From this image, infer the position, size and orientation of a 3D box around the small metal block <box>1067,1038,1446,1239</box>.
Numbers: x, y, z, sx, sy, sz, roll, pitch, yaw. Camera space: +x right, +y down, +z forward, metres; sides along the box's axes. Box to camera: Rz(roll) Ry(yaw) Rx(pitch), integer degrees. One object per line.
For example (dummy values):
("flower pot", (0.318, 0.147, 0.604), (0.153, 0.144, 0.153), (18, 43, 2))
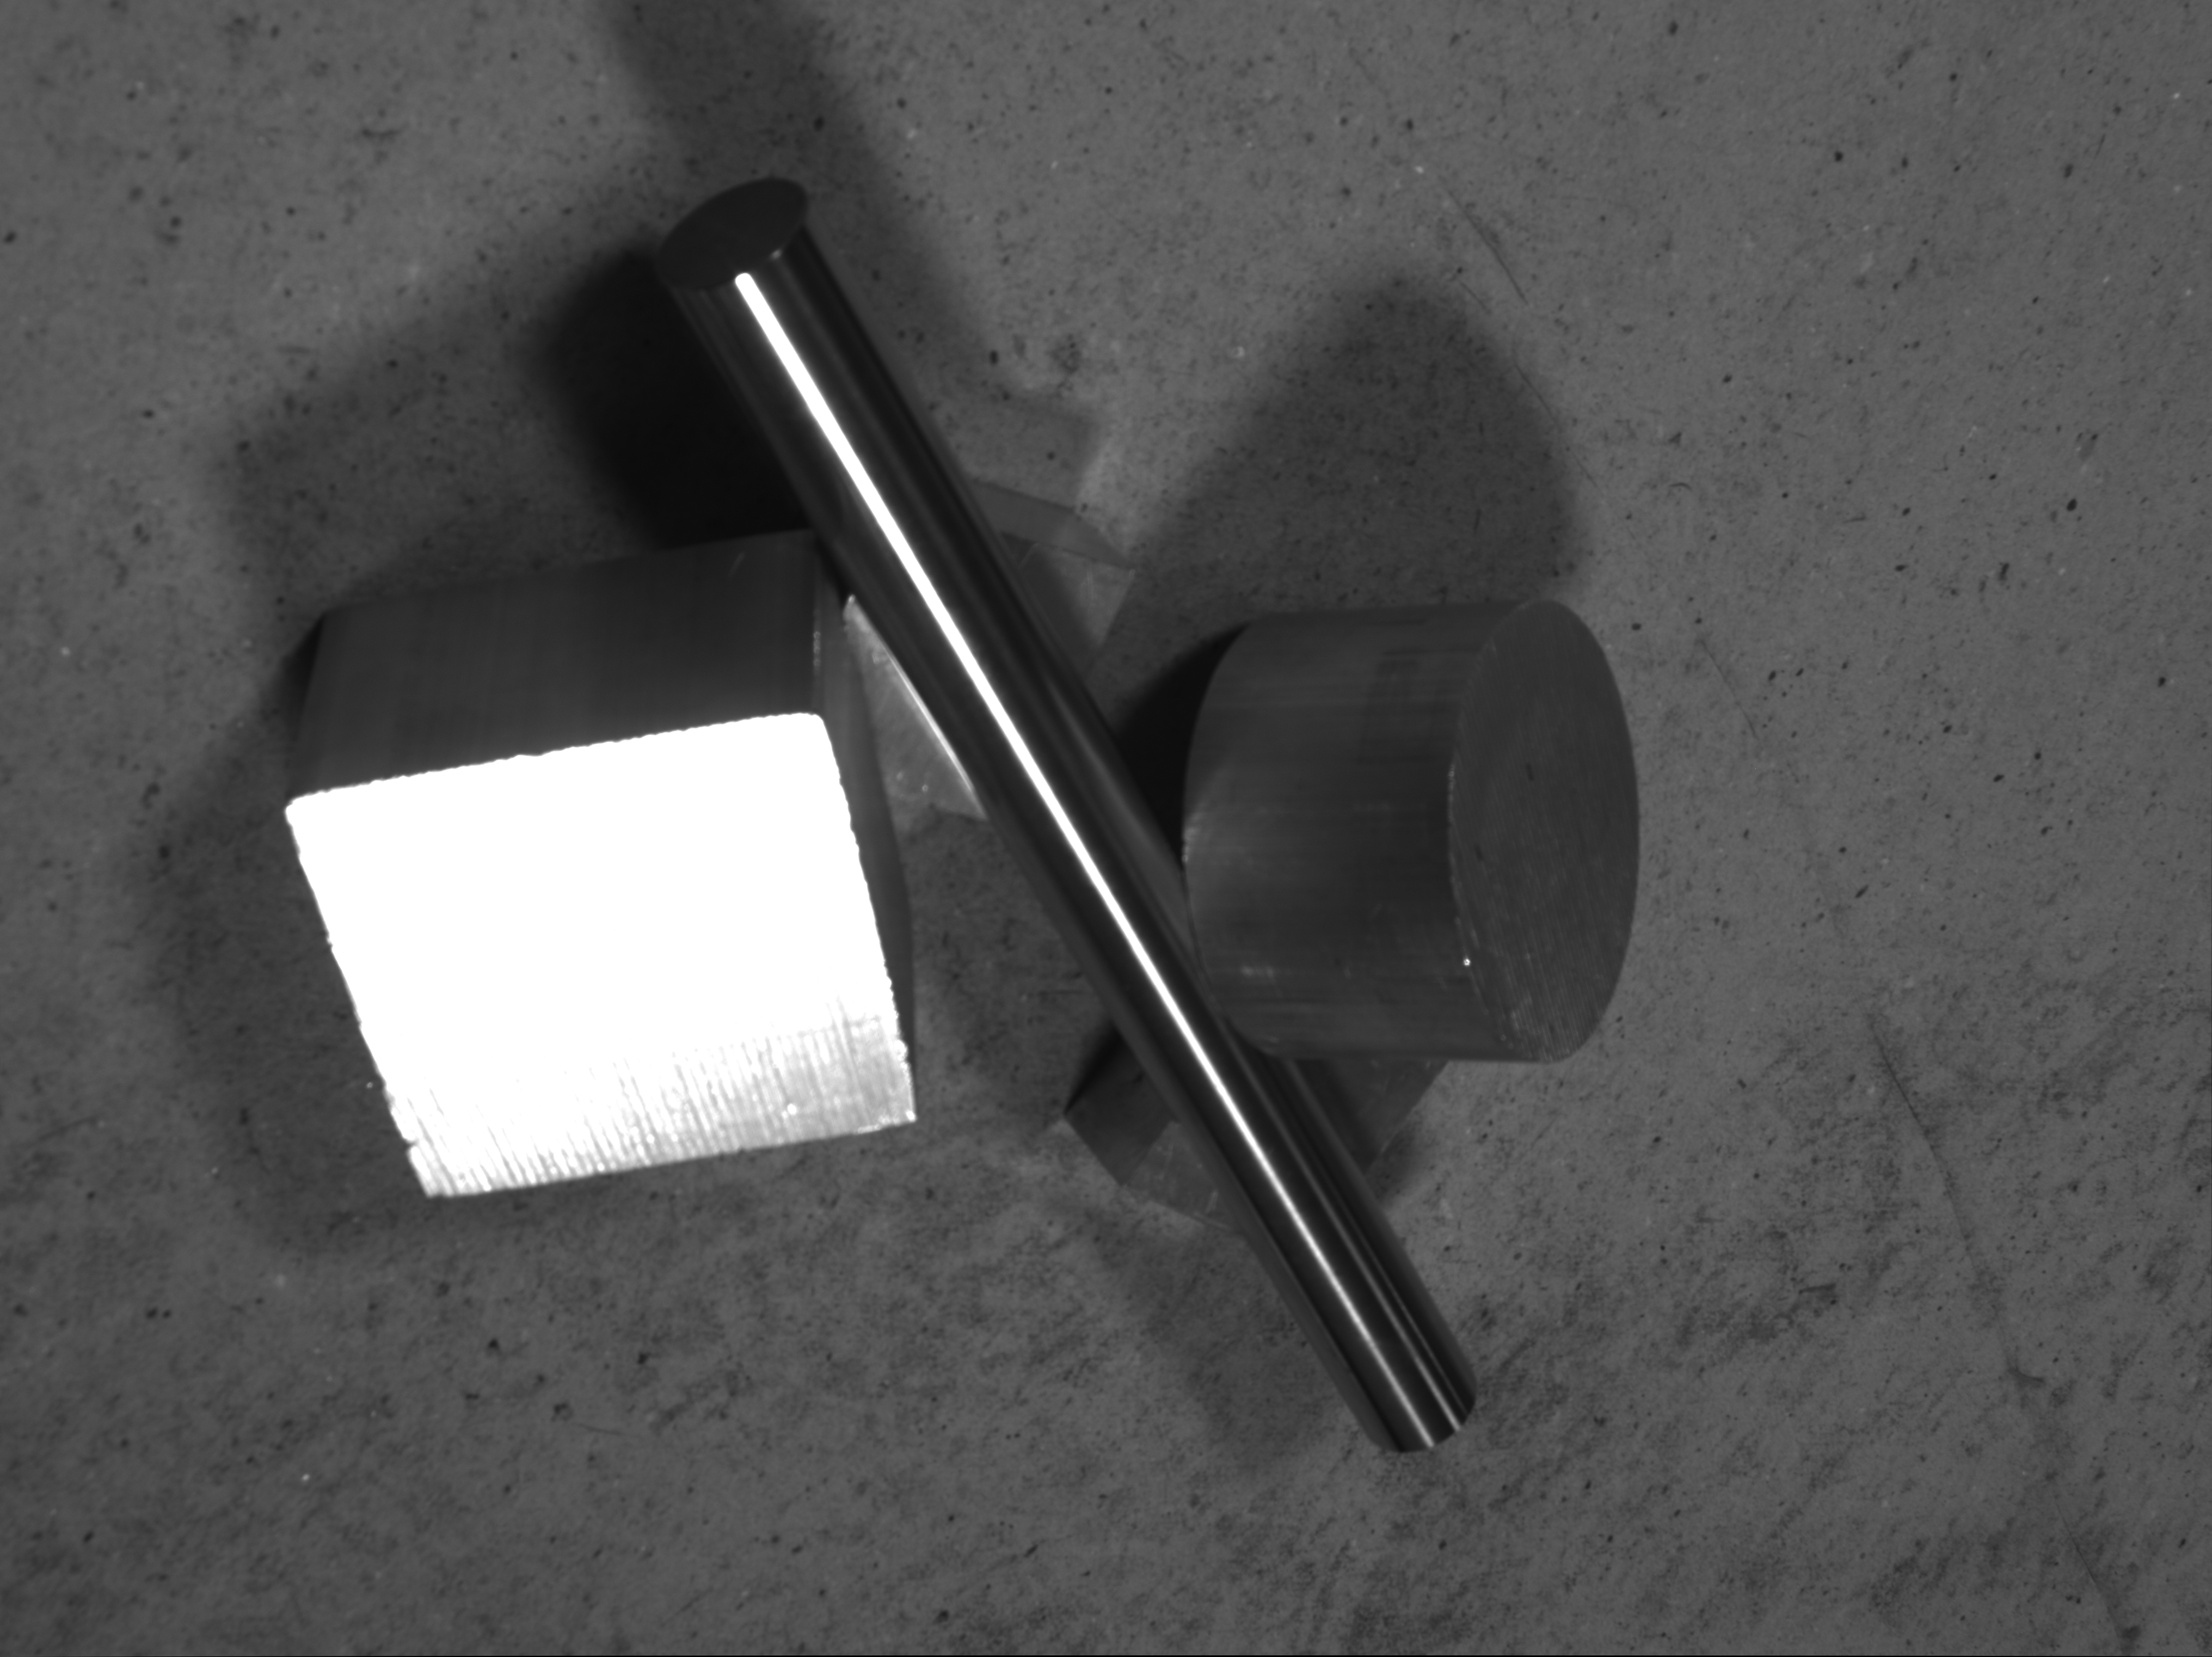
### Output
("small metal block", (0.030, 0.050, 0.700), (0.050, 0.025, 0.050), (28, 102, -39))

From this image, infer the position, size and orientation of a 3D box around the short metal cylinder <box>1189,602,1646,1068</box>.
("short metal cylinder", (0.056, 0.001, 0.642), (0.080, 0.050, 0.080), (3, 86, -59))

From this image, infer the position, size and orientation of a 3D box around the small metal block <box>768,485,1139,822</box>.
("small metal block", (-0.030, -0.032, 0.614), (0.050, 0.025, 0.050), (13, 111, -35))

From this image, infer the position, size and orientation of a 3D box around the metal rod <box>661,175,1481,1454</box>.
("metal rod", (0.004, 0.013, 0.629), (0.025, 0.025, 0.301), (-36, 130, -7))

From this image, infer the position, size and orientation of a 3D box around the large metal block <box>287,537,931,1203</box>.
("large metal block", (-0.075, 0.007, 0.574), (0.080, 0.050, 0.080), (-9, 126, 3))
